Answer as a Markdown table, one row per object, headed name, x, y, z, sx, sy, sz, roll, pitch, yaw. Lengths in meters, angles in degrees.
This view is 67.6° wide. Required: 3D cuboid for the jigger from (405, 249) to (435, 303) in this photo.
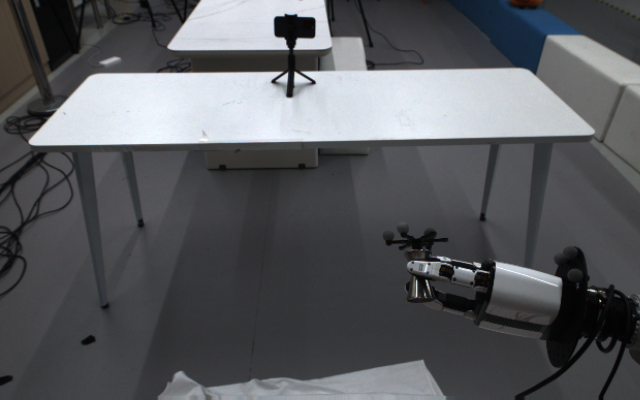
| name | x | y | z | sx | sy | sz | roll | pitch | yaw |
| --- | --- | --- | --- | --- | --- | --- | --- | --- | --- |
| jigger | 0.139 | 0.105 | 0.678 | 0.043 | 0.043 | 0.071 | 1 | 70 | -2 |
